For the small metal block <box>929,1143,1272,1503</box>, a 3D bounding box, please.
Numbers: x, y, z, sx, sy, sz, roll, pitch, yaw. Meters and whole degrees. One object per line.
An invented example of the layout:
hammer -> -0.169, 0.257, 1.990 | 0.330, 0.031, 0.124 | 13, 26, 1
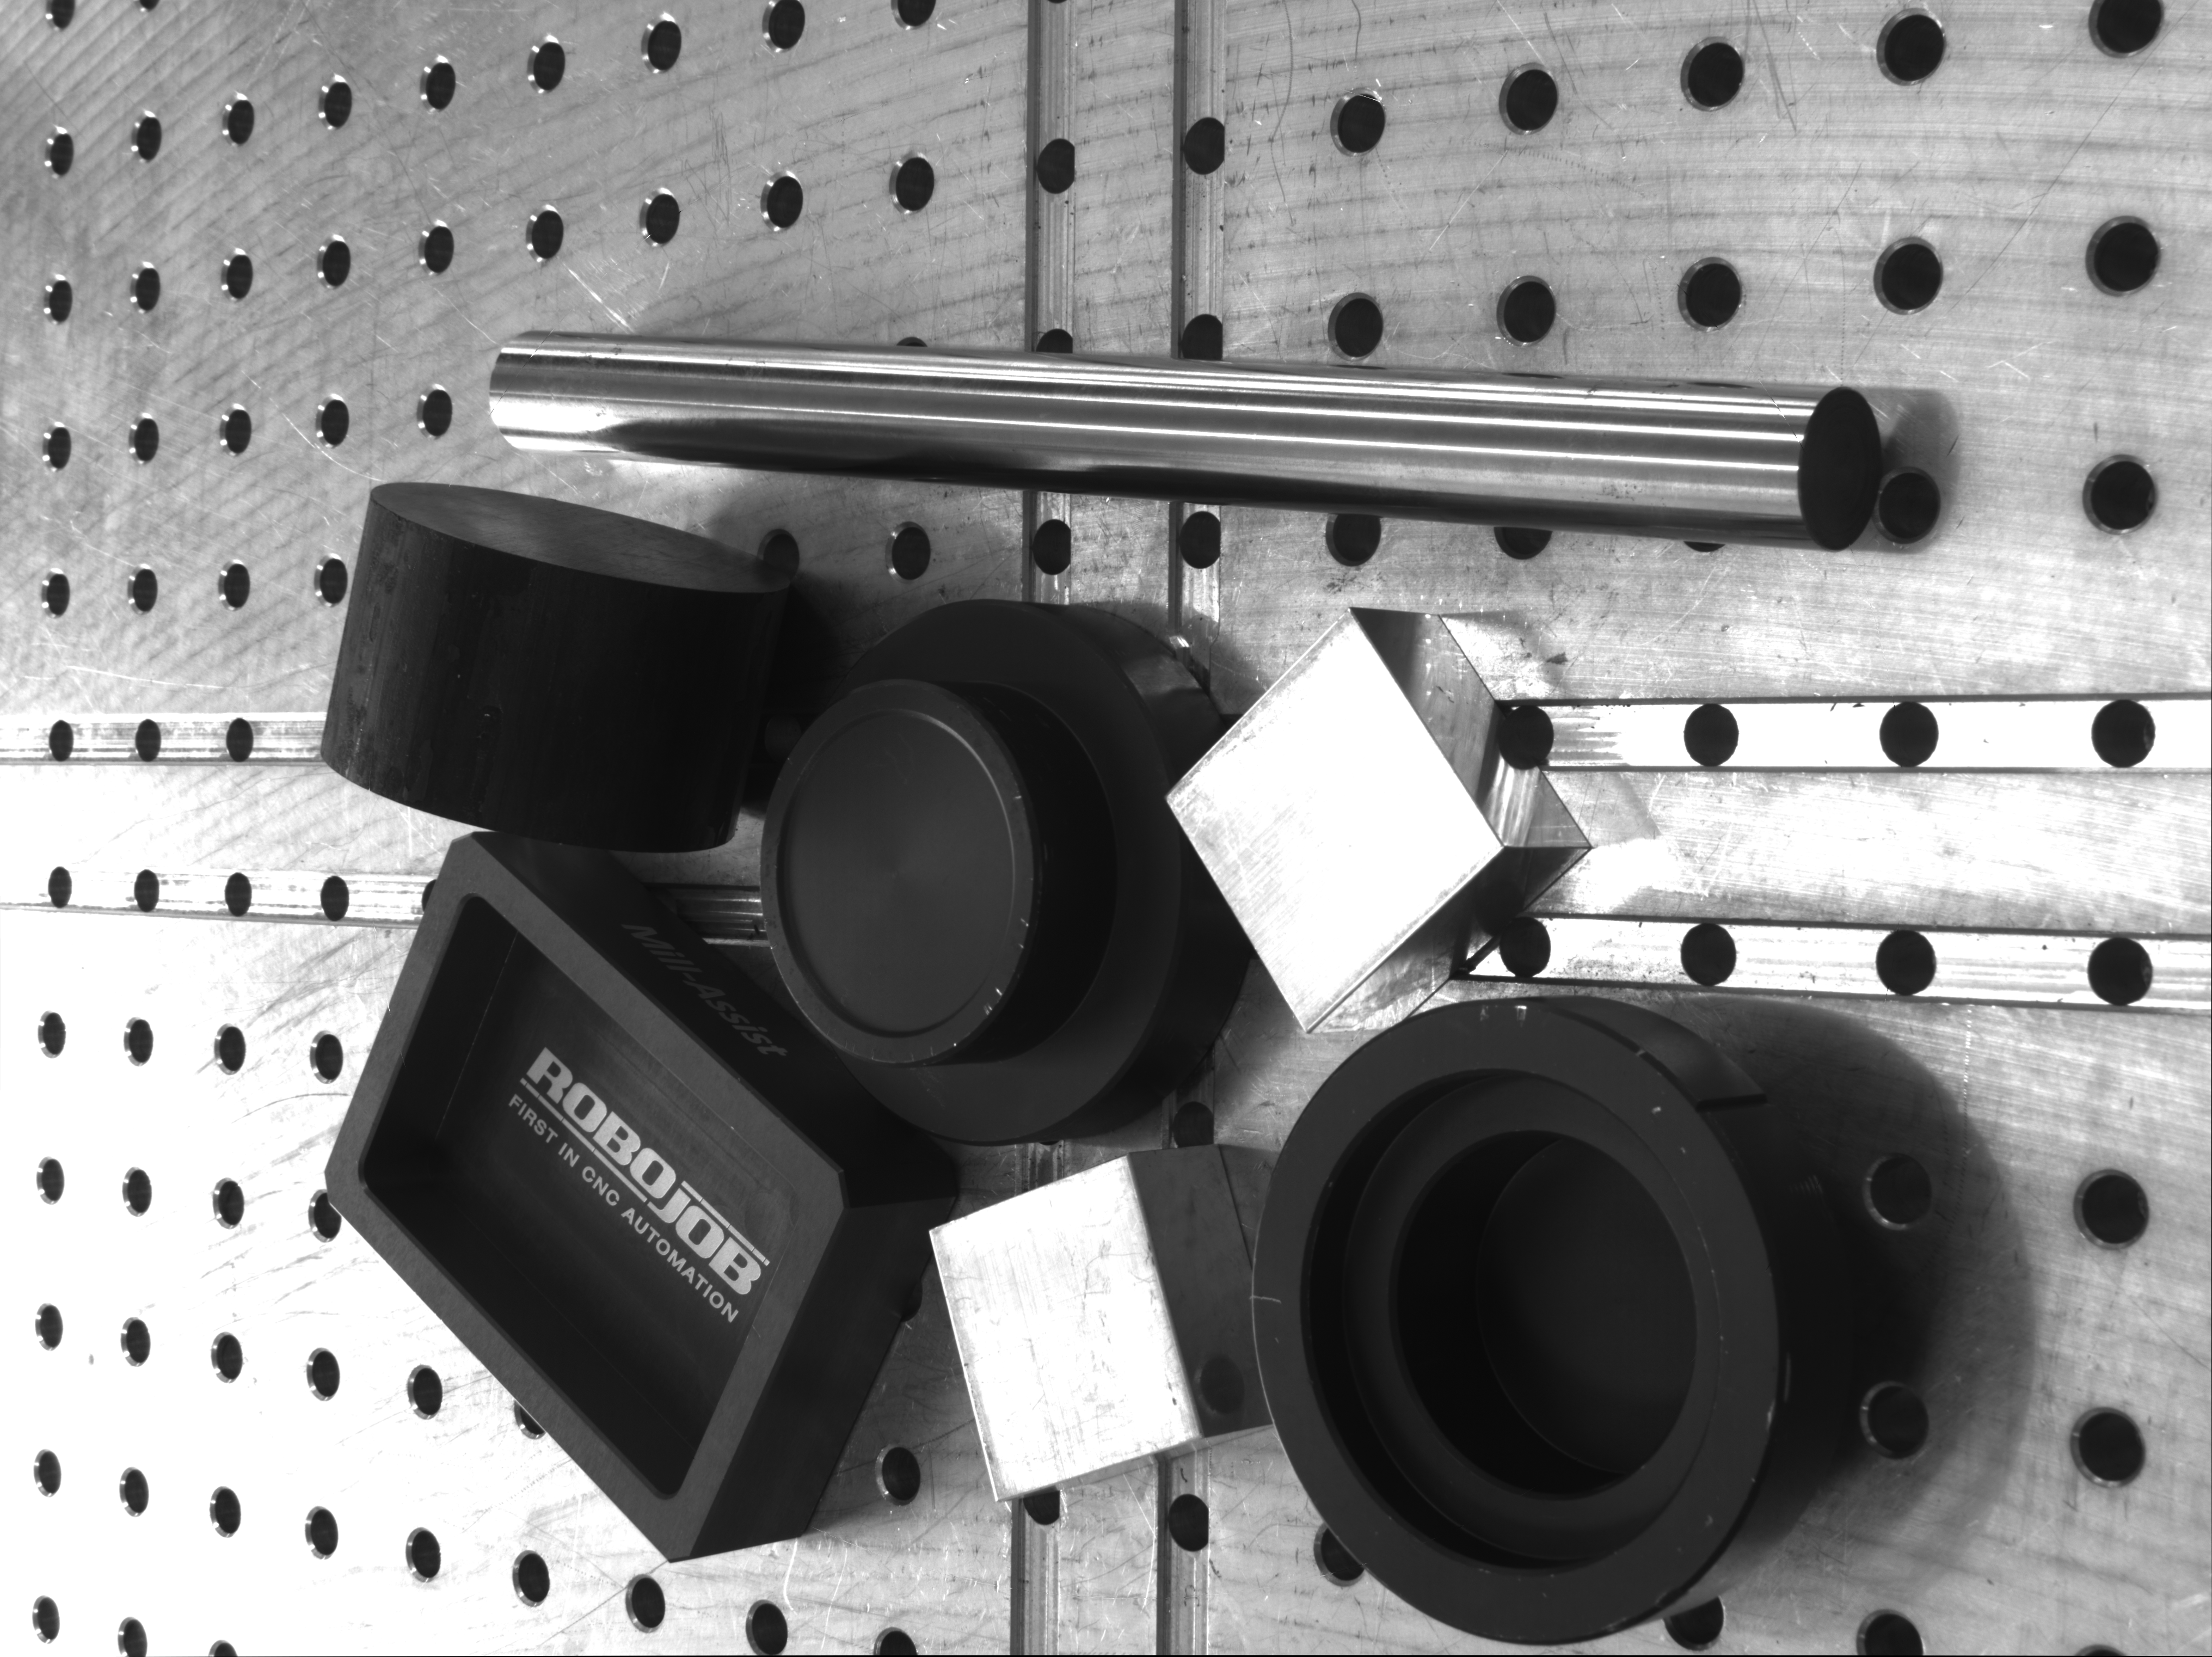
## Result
small metal block -> 0.001, 0.087, 0.648 | 0.050, 0.025, 0.050 | -25, 74, 37

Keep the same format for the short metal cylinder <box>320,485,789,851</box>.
short metal cylinder -> -0.105, -0.032, 0.700 | 0.080, 0.080, 0.050 | 23, 104, 38

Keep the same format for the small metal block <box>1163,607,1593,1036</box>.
small metal block -> 0.045, -0.001, 0.611 | 0.050, 0.025, 0.050 | -46, 62, 30

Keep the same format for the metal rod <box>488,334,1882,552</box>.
metal rod -> -0.002, -0.071, 0.650 | 0.299, 0.025, 0.025 | 8, 95, 40

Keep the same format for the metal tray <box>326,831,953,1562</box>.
metal tray -> -0.095, 0.070, 0.725 | 0.130, 0.030, 0.090 | 38, 114, 34

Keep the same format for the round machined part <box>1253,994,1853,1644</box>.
round machined part -> 0.074, 0.075, 0.575 | 0.098, 0.042, 0.098 | 0, 90, 40

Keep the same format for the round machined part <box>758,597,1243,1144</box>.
round machined part -> -0.024, 0.007, 0.657 | 0.098, 0.042, 0.098 | -3, 85, 40
